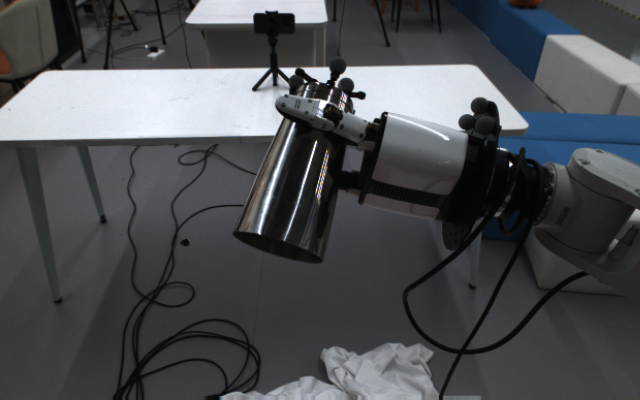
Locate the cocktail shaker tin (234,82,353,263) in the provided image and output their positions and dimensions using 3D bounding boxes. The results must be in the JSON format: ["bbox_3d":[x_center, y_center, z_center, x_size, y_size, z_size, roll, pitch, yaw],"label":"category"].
[{"bbox_3d":[-0.016,-0.032,0.497,0.093,0.093,0.170,12,72,14],"label":"cocktail shaker tin"}]
